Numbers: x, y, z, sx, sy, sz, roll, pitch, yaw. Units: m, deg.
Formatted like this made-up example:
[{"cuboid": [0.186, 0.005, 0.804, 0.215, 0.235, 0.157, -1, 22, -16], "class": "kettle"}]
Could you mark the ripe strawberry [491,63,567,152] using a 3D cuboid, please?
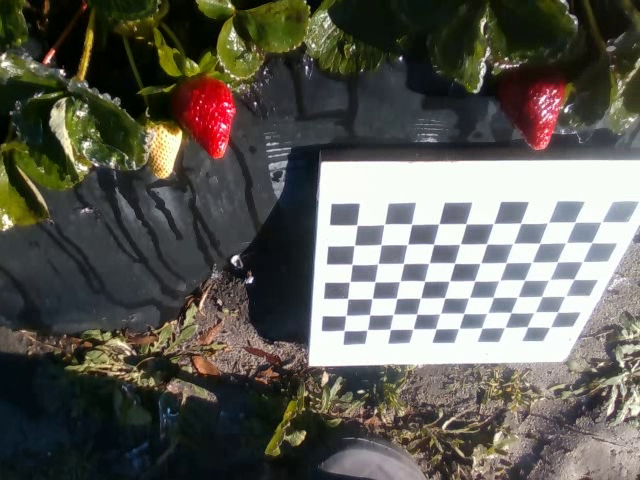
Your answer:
[{"cuboid": [0.153, -0.089, 0.430, 0.049, 0.061, 0.044, -5, 11, 0], "class": "ripe strawberry"}]

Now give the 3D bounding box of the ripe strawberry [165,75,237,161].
[{"cuboid": [-0.076, -0.082, 0.426, 0.043, 0.061, 0.046, -11, 2, 5], "class": "ripe strawberry"}]
